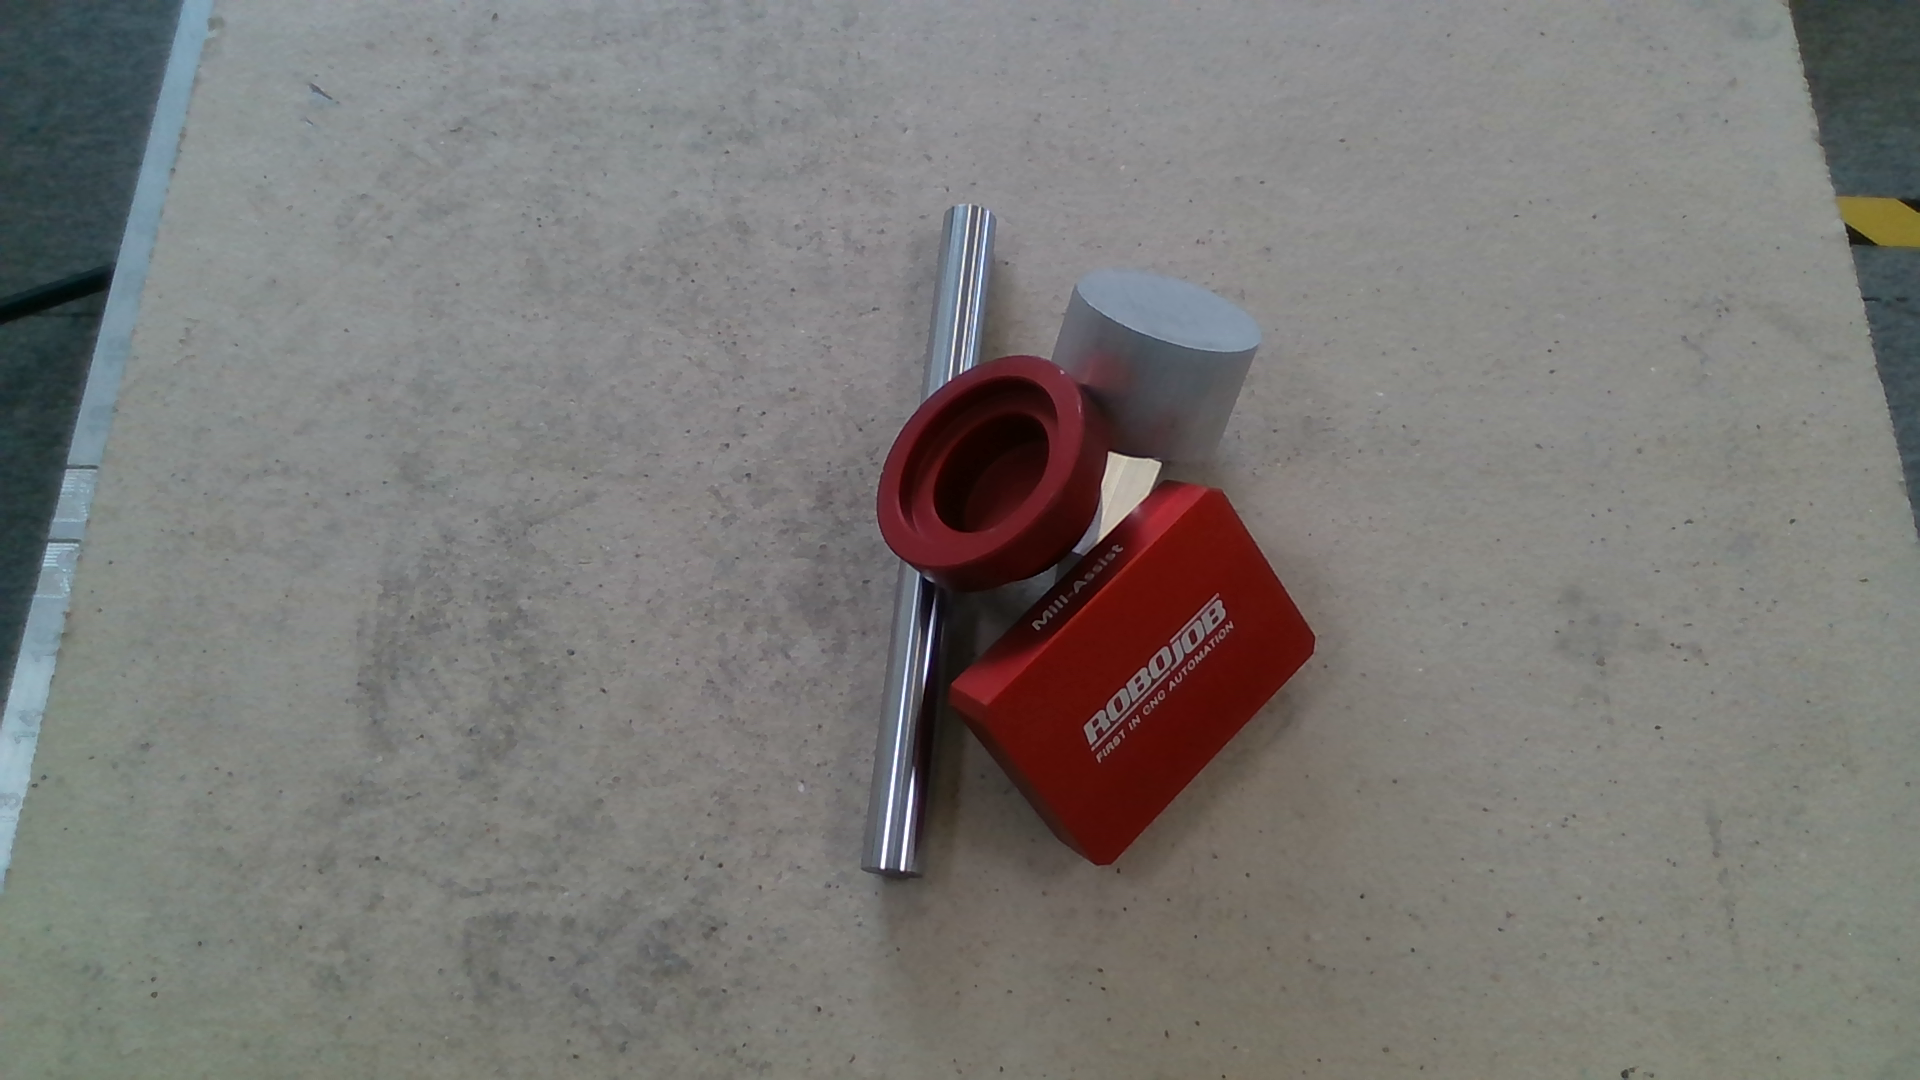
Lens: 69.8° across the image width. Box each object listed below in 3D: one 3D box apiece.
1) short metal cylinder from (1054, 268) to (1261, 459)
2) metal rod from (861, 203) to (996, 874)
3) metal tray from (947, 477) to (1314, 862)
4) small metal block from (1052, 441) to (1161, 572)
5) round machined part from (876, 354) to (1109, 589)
[{"bbox_3d":[0.080,-0.076,0.582,0.080,0.050,0.080,12,30,-7],"label":"short metal cylinder"},{"bbox_3d":[-0.011,-0.010,0.592,0.025,0.025,0.299,6,70,2],"label":"metal rod"},{"bbox_3d":[0.069,0.050,0.541,0.130,0.030,0.090,-43,114,-13],"label":"metal tray"},{"bbox_3d":[0.060,-0.007,0.576,0.025,0.050,0.050,22,72,8],"label":"small metal block"},{"bbox_3d":[0.017,-0.023,0.555,0.098,0.042,0.098,-21,50,27],"label":"round machined part"}]
